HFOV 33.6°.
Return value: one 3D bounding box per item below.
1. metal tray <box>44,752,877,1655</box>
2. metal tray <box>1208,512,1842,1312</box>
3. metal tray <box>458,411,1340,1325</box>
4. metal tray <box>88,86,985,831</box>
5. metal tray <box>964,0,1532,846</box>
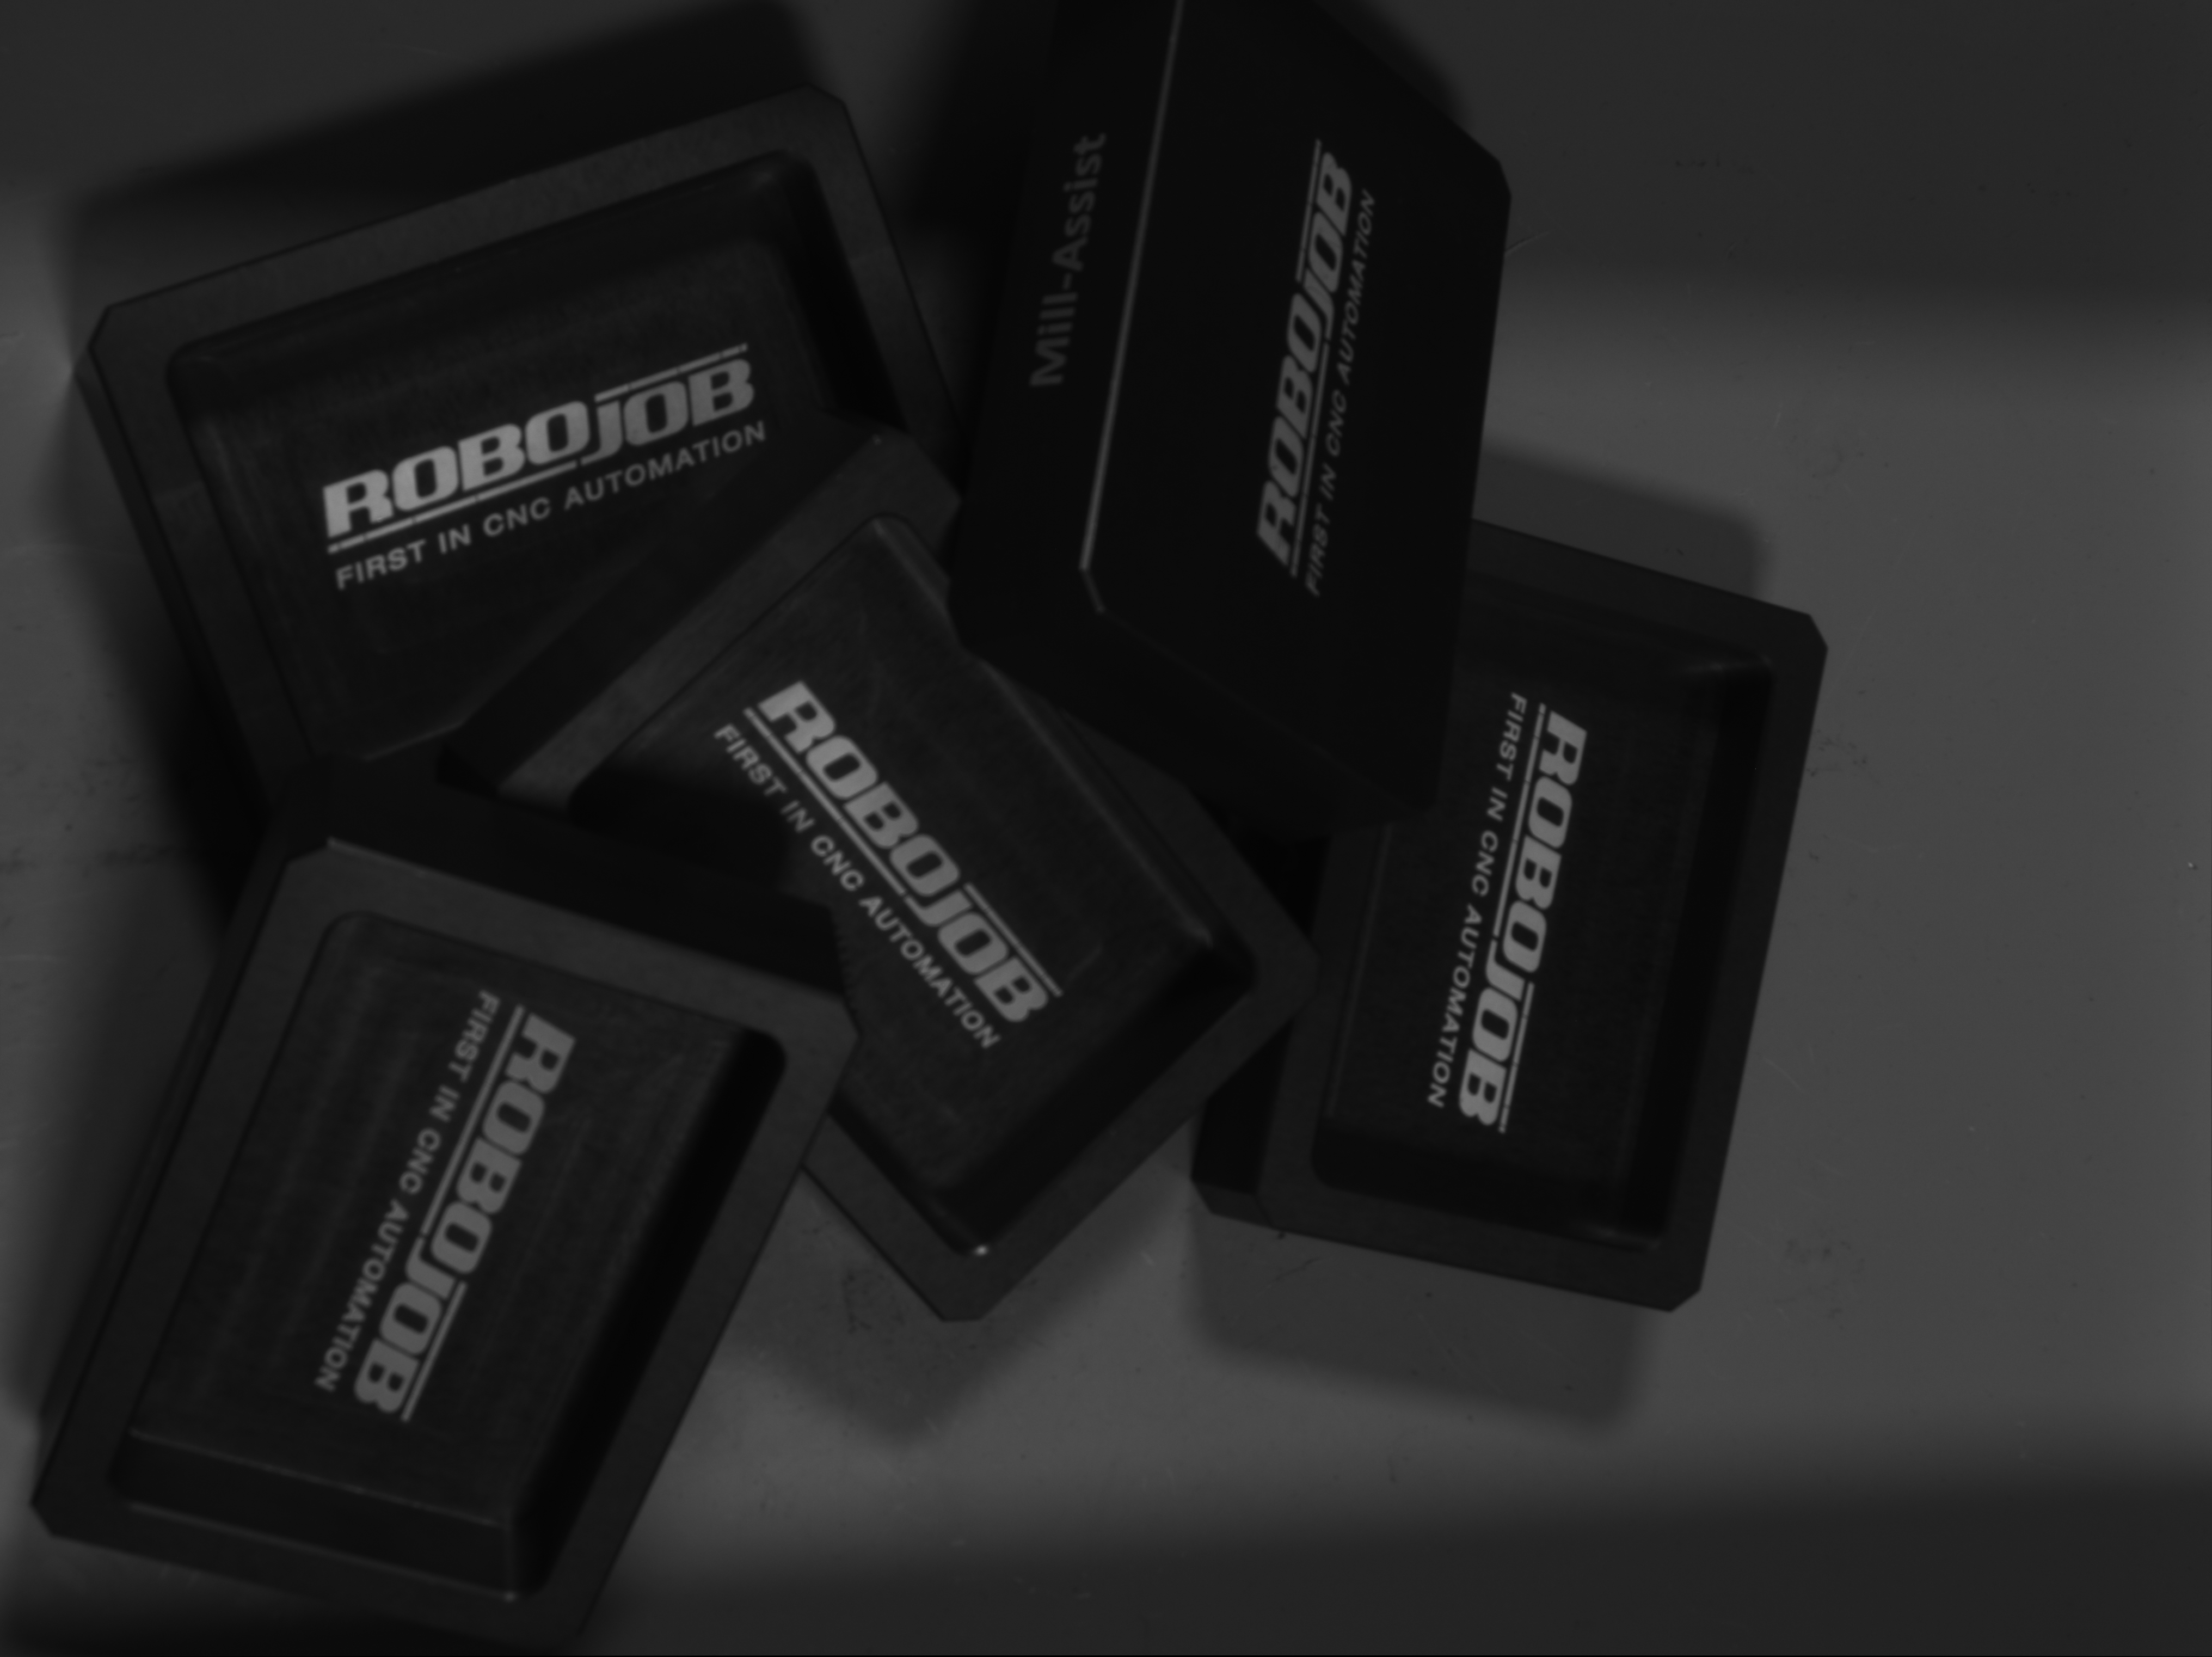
[{"bbox_3d":[-0.102,0.061,0.571,0.090,0.030,0.130,18,112,-19],"label":"metal tray"},{"bbox_3d":[0.077,0.015,0.667,0.090,0.030,0.130,13,85,-19],"label":"metal tray"},{"bbox_3d":[-0.032,0.008,0.605,0.090,0.030,0.130,-43,118,-8],"label":"metal tray"},{"bbox_3d":[-0.090,-0.060,0.607,0.130,0.030,0.090,-22,97,-19],"label":"metal tray"},{"bbox_3d":[0.027,-0.074,0.613,0.090,0.030,0.130,31,59,-40],"label":"metal tray"}]
